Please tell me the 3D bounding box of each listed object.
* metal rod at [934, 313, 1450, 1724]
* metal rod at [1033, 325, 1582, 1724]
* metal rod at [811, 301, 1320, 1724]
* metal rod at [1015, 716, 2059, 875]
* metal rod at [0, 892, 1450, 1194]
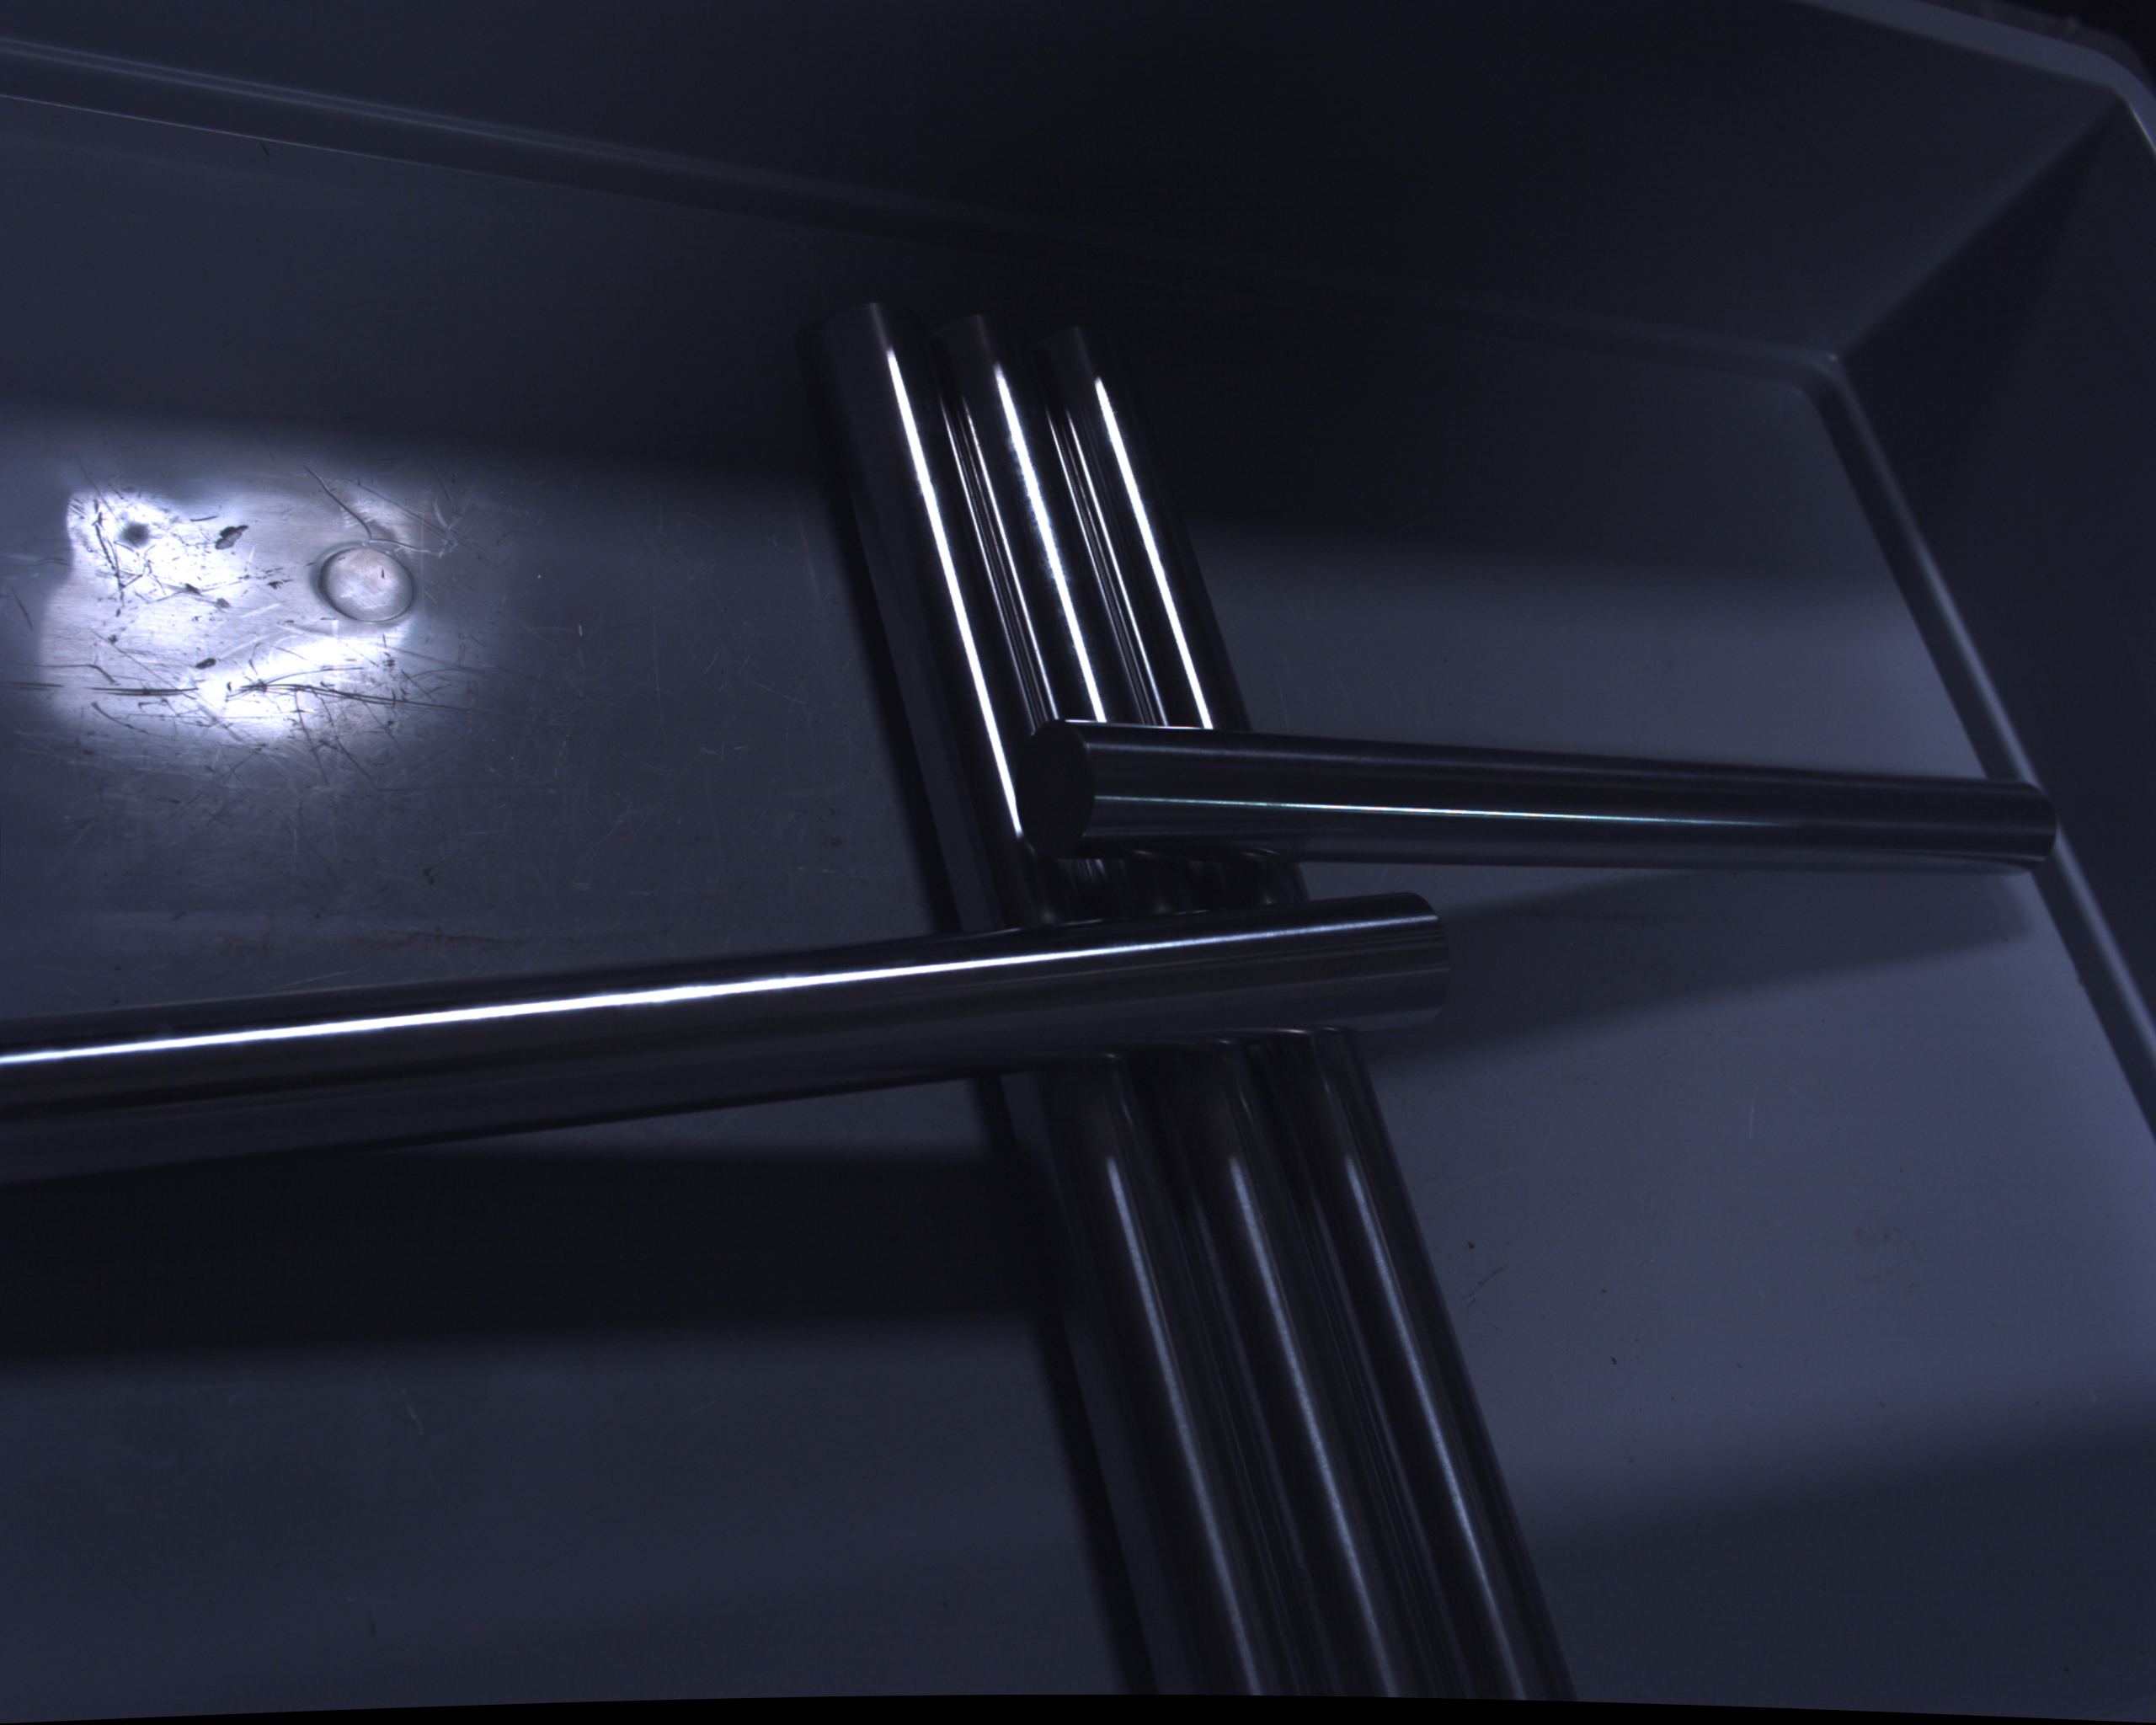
[{"bbox_3d":[0.014,0.018,0.402,0.025,0.025,0.299,-1,62,-29],"label":"metal rod"},{"bbox_3d":[0.036,0.018,0.414,0.025,0.025,0.299,-1,62,-29],"label":"metal rod"},{"bbox_3d":[-0.008,0.019,0.390,0.025,0.025,0.299,-1,62,-29],"label":"metal rod"},{"bbox_3d":[0.120,-0.011,0.455,0.302,0.025,0.025,1,61,-35],"label":"metal rod"},{"bbox_3d":[-0.076,0.028,0.326,0.303,0.025,0.025,-4,64,-24],"label":"metal rod"}]
